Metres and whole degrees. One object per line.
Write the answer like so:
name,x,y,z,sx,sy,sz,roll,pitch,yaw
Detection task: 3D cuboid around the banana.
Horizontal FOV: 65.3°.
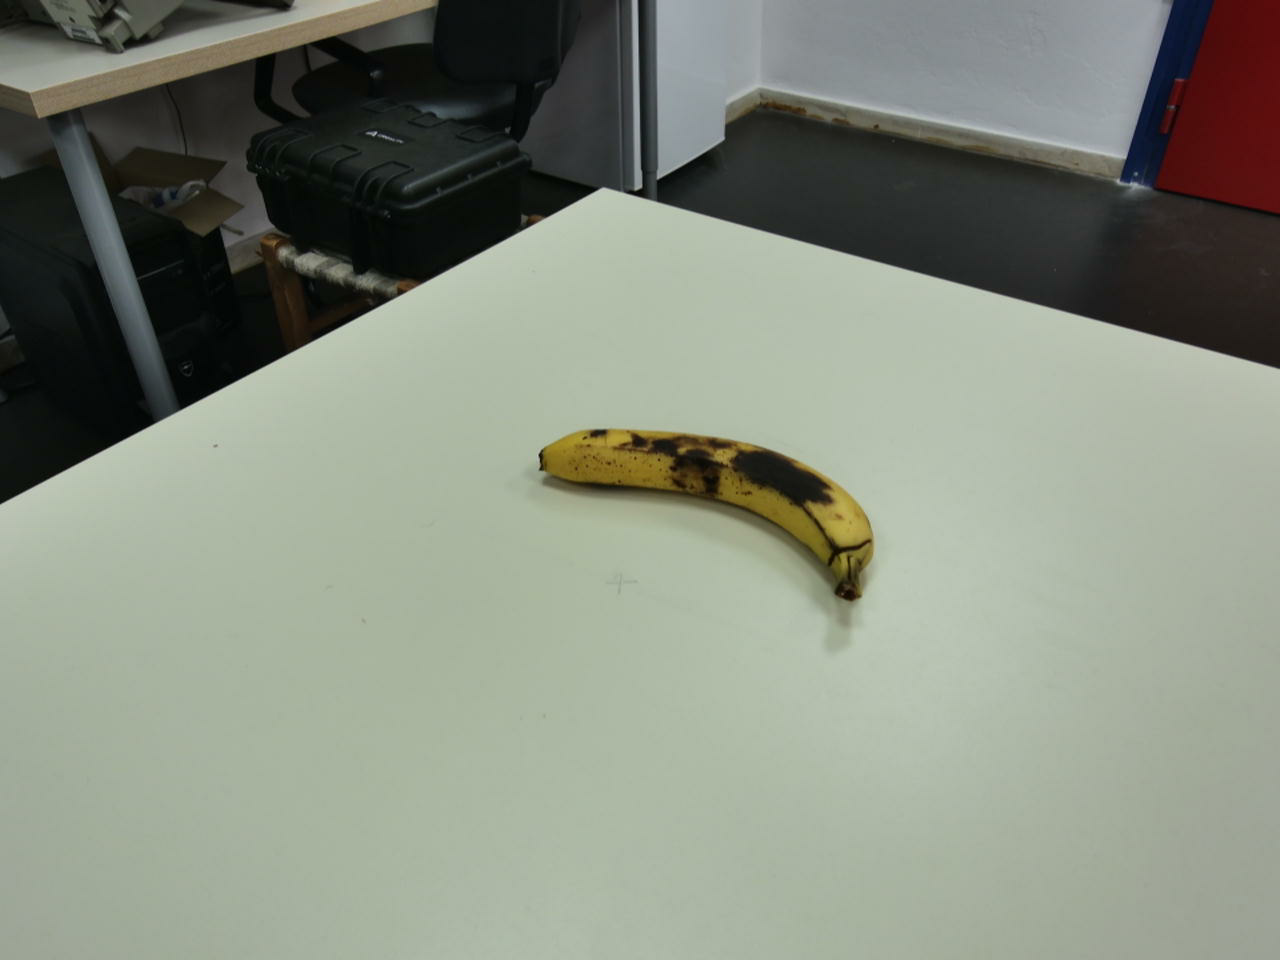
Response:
banana,0.046,0.004,0.596,0.222,0.037,0.084,24,44,29
